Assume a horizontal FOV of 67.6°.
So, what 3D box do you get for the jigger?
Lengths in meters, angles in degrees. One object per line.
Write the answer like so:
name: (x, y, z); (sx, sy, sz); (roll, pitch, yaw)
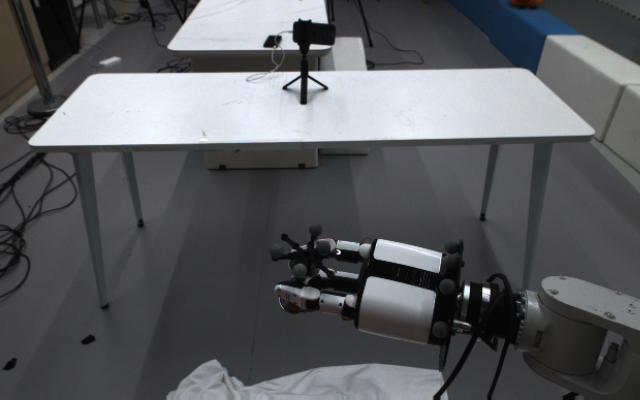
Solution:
jigger: (-0.026, 0.107, 0.624); (0.043, 0.071, 0.043); (10, 36, -7)
